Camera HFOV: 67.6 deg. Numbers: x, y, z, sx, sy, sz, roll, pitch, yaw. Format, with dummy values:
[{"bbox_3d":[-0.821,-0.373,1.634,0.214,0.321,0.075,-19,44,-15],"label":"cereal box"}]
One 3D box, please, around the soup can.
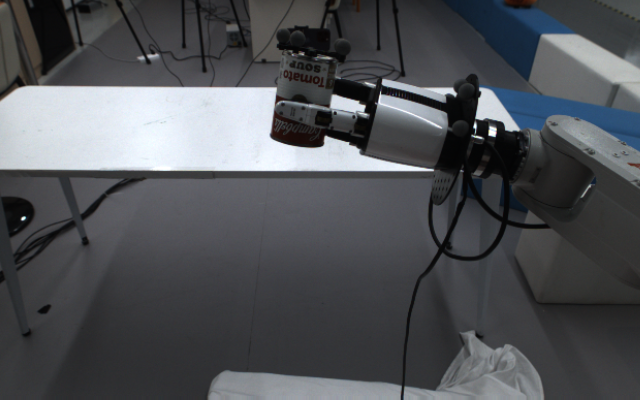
[{"bbox_3d":[-0.019,-0.121,0.579,0.067,0.101,0.067,9,20,-3],"label":"soup can"}]
